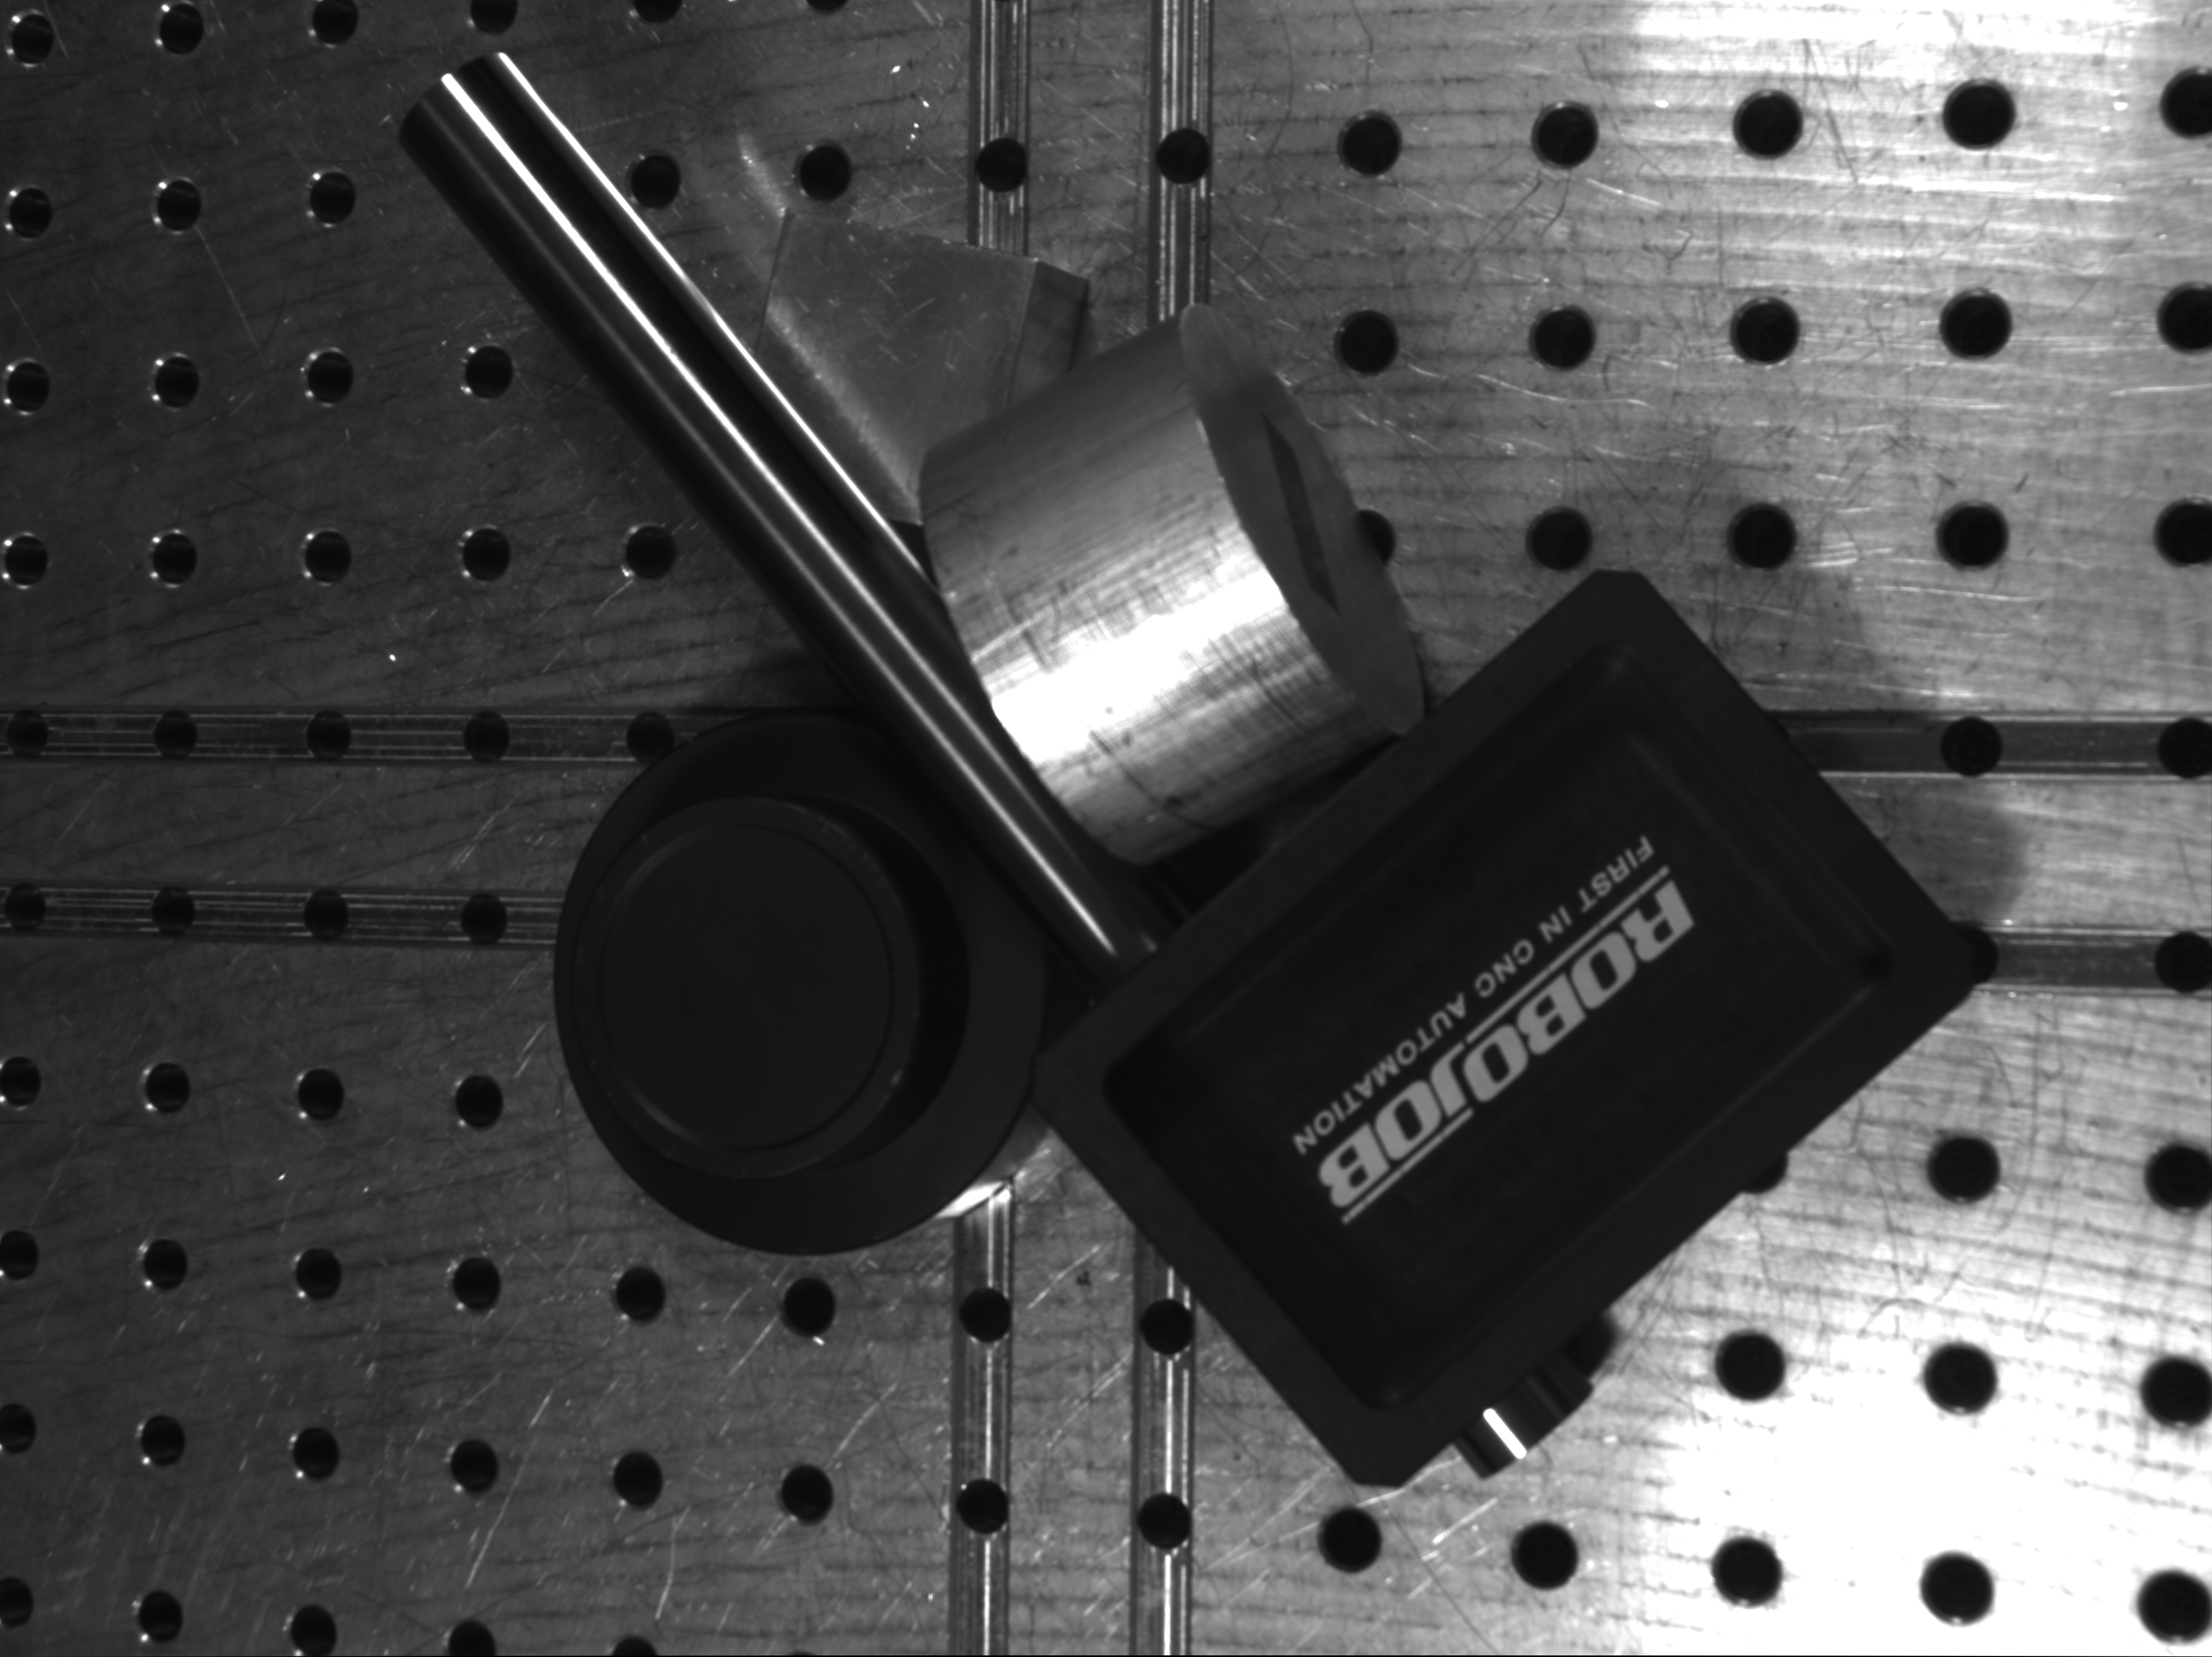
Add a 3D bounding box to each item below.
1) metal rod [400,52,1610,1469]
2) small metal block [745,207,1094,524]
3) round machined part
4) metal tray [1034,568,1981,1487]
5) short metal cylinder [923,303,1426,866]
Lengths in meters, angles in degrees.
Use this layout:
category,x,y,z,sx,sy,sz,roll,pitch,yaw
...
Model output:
category,x,y,z,sx,sy,sz,roll,pitch,yaw
metal rod,-0.019,-0.014,0.636,0.025,0.025,0.300,-41,85,15
small metal block,-0.035,-0.081,0.660,0.050,0.025,0.050,14,95,19
round machined part,-0.056,0.028,0.657,0.098,0.042,0.098,0,90,20
metal tray,0.065,0.032,0.599,0.130,0.030,0.090,-41,84,-1
short metal cylinder,0.012,-0.041,0.613,0.050,0.080,0.080,-26,81,18
